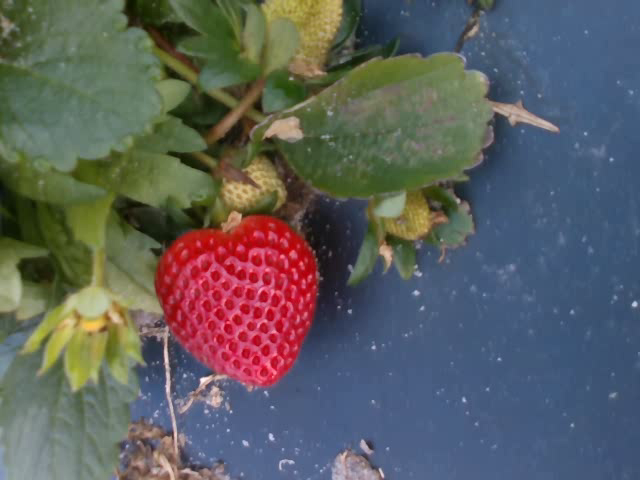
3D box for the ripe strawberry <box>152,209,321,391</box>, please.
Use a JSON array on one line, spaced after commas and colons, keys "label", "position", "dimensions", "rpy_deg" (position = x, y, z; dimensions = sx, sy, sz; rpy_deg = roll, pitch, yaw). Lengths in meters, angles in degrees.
[{"label": "ripe strawberry", "position": [-0.022, 0.019, 0.162], "dimensions": [0.046, 0.046, 0.043], "rpy_deg": [-11, -31, -36]}]
